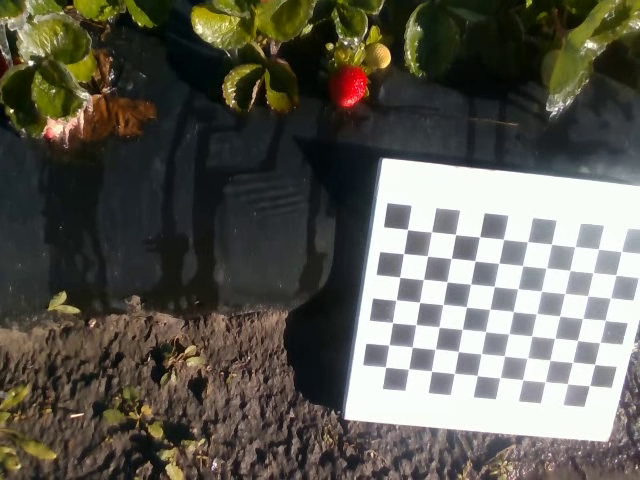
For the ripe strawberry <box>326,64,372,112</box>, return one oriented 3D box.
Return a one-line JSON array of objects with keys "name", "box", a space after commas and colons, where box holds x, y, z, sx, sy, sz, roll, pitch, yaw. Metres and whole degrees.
[{"name": "ripe strawberry", "box": [0.020, -0.108, 0.456, 0.039, 0.040, 0.039, -1, 38, 7]}]
